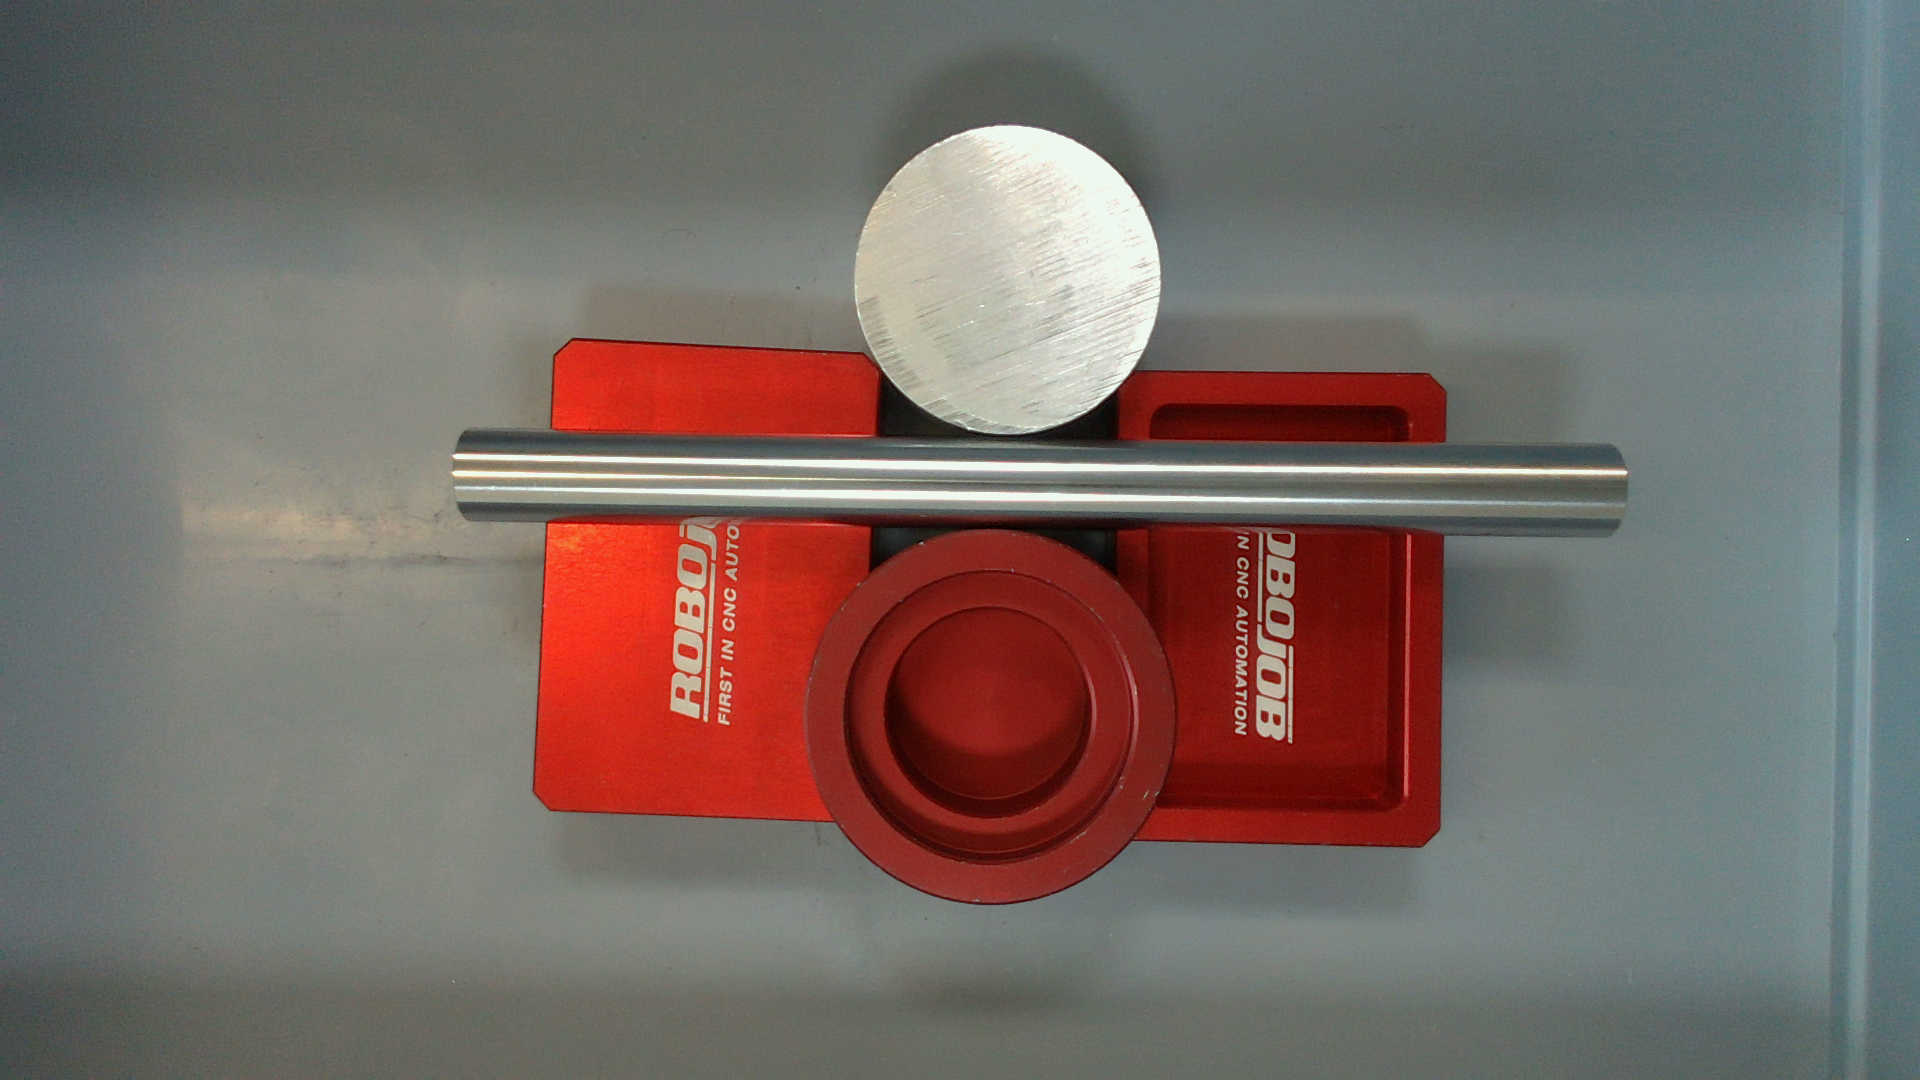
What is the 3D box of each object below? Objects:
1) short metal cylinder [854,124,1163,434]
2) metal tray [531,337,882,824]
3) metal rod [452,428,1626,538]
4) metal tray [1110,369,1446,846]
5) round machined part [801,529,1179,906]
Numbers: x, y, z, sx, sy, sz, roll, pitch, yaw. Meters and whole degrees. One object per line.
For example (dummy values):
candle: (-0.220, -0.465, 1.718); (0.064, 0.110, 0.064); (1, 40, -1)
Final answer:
short metal cylinder: (0.013, -0.068, 0.381); (0.080, 0.050, 0.080); (0, 90, 0)
metal tray: (-0.070, 0.011, 0.390); (0.090, 0.030, 0.130); (3, 90, 0)
metal rod: (0.021, -0.015, 0.364); (0.300, 0.025, 0.025); (1, 90, 0)
metal tray: (0.088, 0.019, 0.392); (0.090, 0.030, 0.130); (1, 90, 0)
round machined part: (0.008, 0.046, 0.377); (0.098, 0.042, 0.098); (0, 90, 0)
